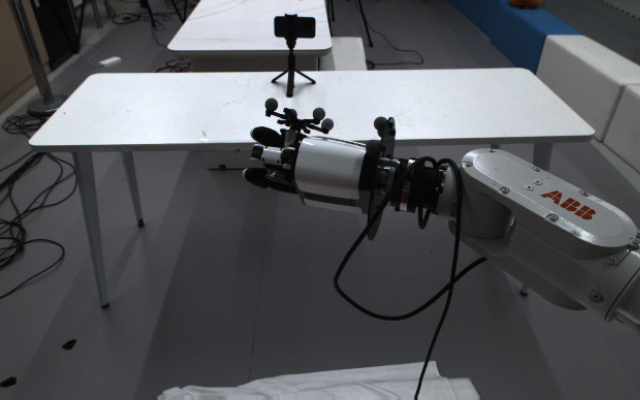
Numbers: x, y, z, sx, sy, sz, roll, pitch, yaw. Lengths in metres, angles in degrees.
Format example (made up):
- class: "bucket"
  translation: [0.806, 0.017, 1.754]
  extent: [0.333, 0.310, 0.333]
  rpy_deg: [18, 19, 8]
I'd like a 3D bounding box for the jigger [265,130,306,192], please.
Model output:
- class: "jigger"
  translation: [-0.042, -0.057, 0.652]
  extent: [0.043, 0.071, 0.043]
  rpy_deg: [15, -7, 2]
